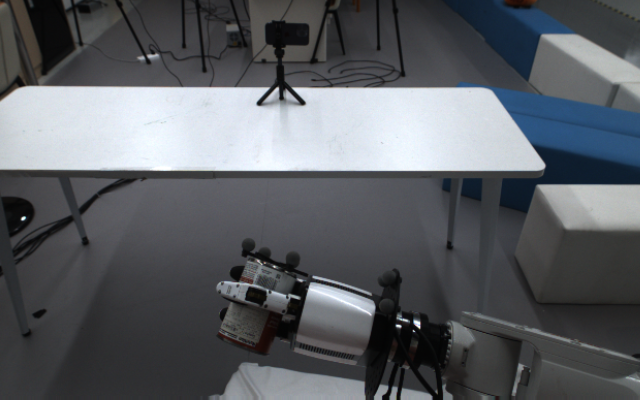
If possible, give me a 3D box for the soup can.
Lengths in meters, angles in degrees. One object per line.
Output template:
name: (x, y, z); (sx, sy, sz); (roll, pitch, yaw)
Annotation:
soup can: (-0.074, 0.131, 0.594); (0.067, 0.067, 0.101); (16, 75, 19)
